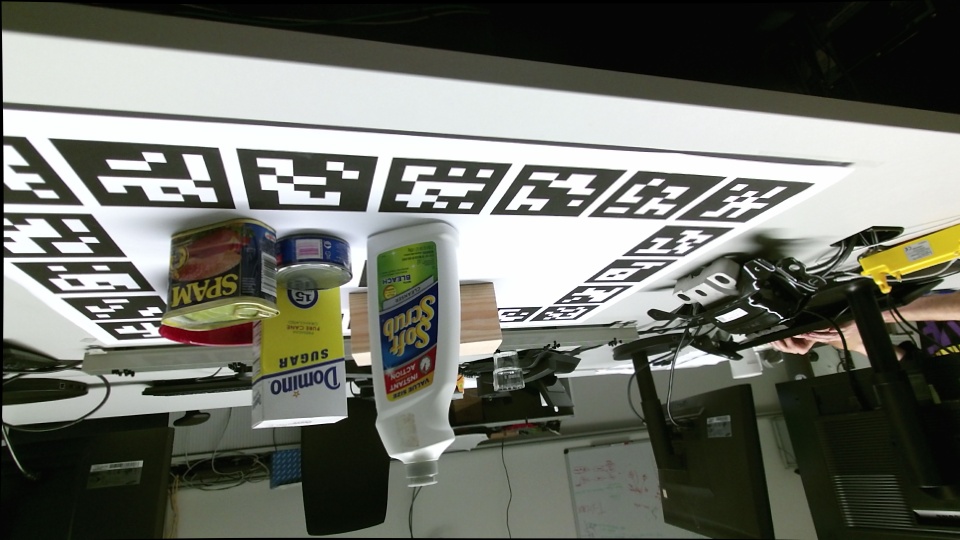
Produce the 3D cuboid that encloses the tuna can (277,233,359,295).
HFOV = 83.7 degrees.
[{"bbox_3d":[-0.174,-0.005,0.570,0.086,0.033,0.086,-8,157,-4],"label":"tuna can"}]

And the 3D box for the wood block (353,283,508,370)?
[{"bbox_3d":[-0.073,0.083,0.778,0.207,0.089,0.091,-4,155,-9],"label":"wood block"}]

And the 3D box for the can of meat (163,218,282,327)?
[{"bbox_3d":[-0.246,0.004,0.515,0.102,0.083,0.058,-11,163,11],"label":"can of meat"}]

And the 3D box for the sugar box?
[{"bbox_3d":[-0.202,0.083,0.593,0.093,0.175,0.045,4,154,-39],"label":"sugar box"}]

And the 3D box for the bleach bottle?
[{"bbox_3d":[-0.057,0.080,0.543,0.103,0.249,0.068,-11,160,6],"label":"bleach bottle"}]

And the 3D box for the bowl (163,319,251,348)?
[{"bbox_3d":[-0.310,0.058,0.664,0.162,0.055,0.162,-11,161,-4],"label":"bowl"}]
